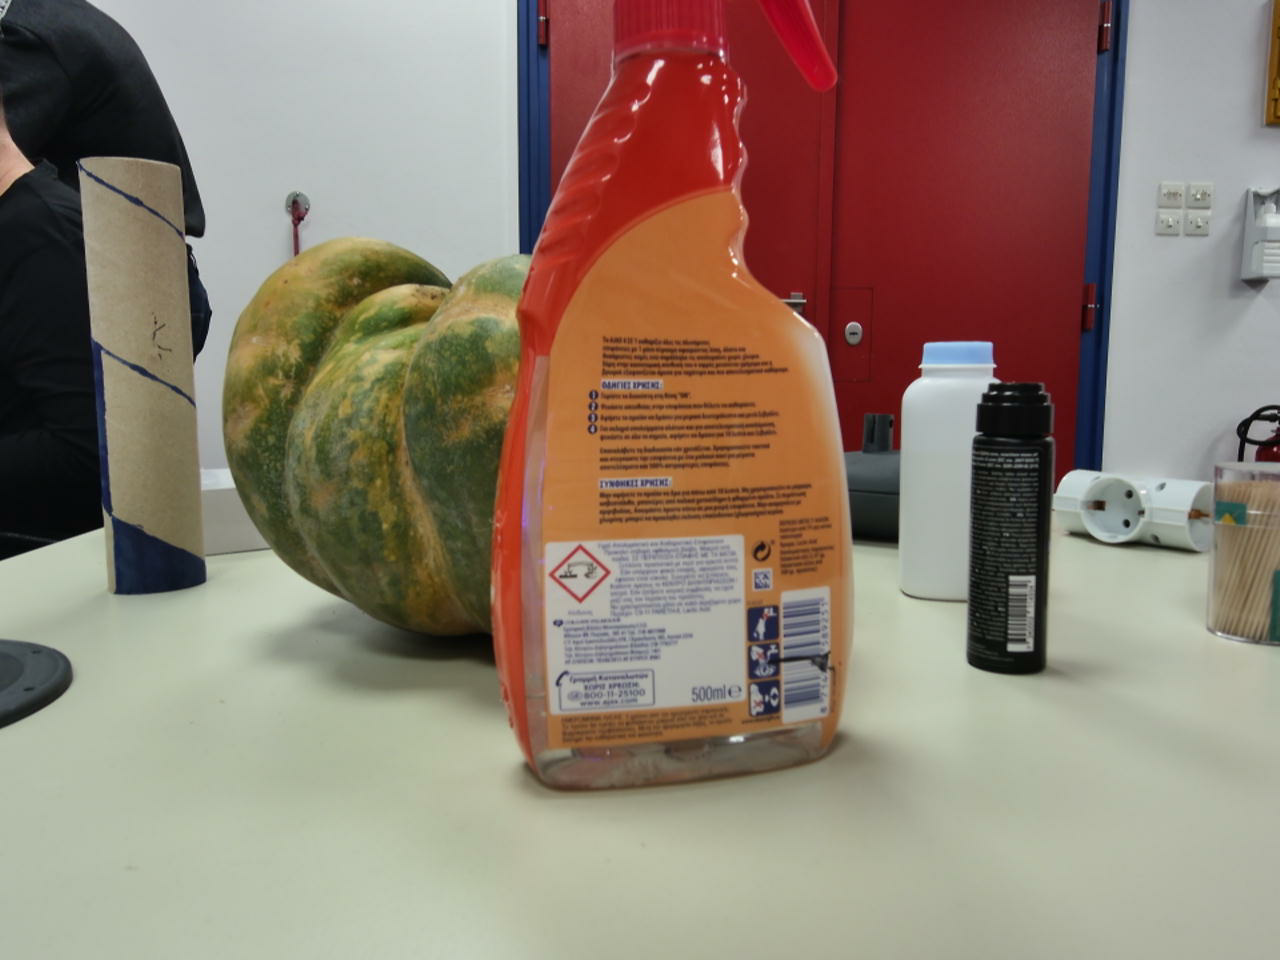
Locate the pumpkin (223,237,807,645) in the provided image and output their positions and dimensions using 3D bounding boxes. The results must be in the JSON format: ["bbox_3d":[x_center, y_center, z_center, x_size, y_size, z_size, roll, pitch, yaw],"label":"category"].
[{"bbox_3d":[-0.055,-0.019,0.463,0.270,0.173,0.237,3,5,36],"label":"pumpkin"}]
